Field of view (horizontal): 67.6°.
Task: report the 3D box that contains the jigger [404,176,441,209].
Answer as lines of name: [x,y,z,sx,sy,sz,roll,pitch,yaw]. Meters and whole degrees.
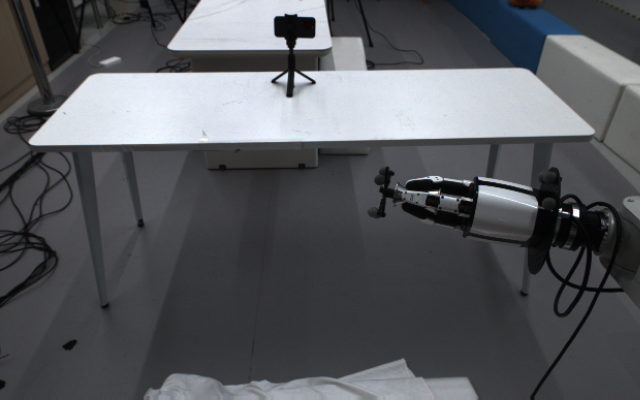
jigger: [0.158,-0.007,0.757,0.071,0.043,0.043,10,35,16]
